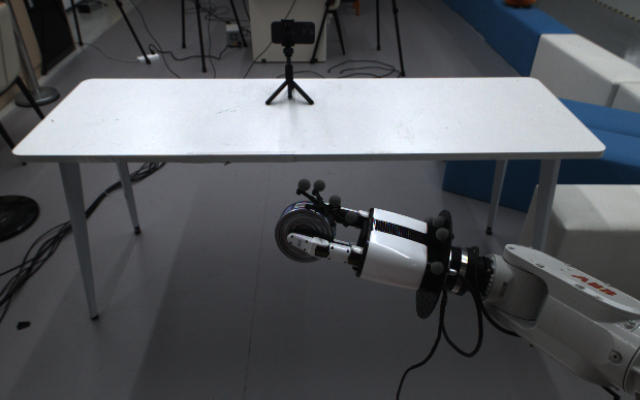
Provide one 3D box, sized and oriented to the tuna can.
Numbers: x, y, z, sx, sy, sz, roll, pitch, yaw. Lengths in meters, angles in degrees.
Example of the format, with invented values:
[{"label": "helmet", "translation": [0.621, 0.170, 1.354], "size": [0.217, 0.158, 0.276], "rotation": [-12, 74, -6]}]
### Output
[{"label": "tuna can", "translation": [-0.020, 0.046, 0.693], "size": [0.085, 0.085, 0.034], "rotation": [6, 19, 6]}]
